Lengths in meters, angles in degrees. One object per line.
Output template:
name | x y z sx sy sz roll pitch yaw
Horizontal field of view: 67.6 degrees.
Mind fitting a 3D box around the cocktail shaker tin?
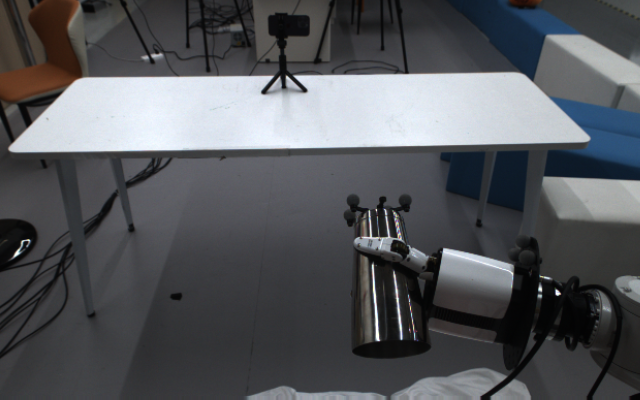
cocktail shaker tin | 0.080 0.099 0.599 0.093 0.093 0.170 0 59 -3
